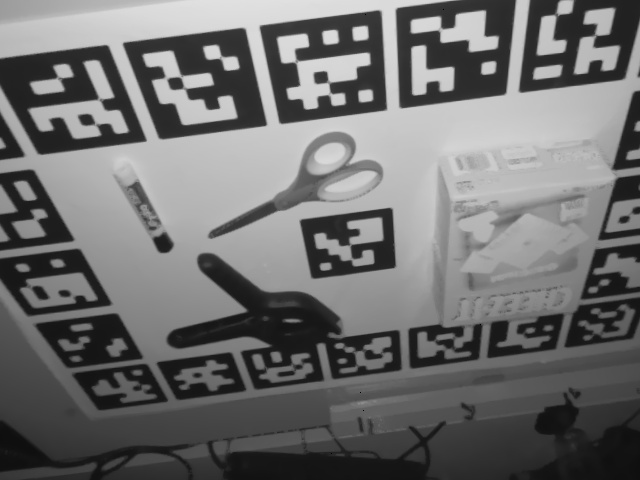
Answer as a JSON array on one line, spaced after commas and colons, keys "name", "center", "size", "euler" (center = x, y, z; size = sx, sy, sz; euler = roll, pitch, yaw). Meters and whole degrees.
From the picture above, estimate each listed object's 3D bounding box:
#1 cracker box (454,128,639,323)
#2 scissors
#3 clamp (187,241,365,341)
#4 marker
[{"name": "cracker box", "center": [0.232, -0.007, 0.732], "size": [0.164, 0.072, 0.212], "euler": [-7, 135, 0]}, {"name": "scissors", "center": [-0.009, -0.051, 0.693], "size": [0.200, 0.016, 0.088], "euler": [-27, 133, 23]}, {"name": "clamp", "center": [-0.038, 0.081, 0.829], "size": [0.205, 0.037, 0.163], "euler": [15, 132, -20]}, {"name": "marker", "center": [-0.151, -0.036, 0.690], "size": [0.019, 0.020, 0.120], "euler": [-10, 136, 4]}]
